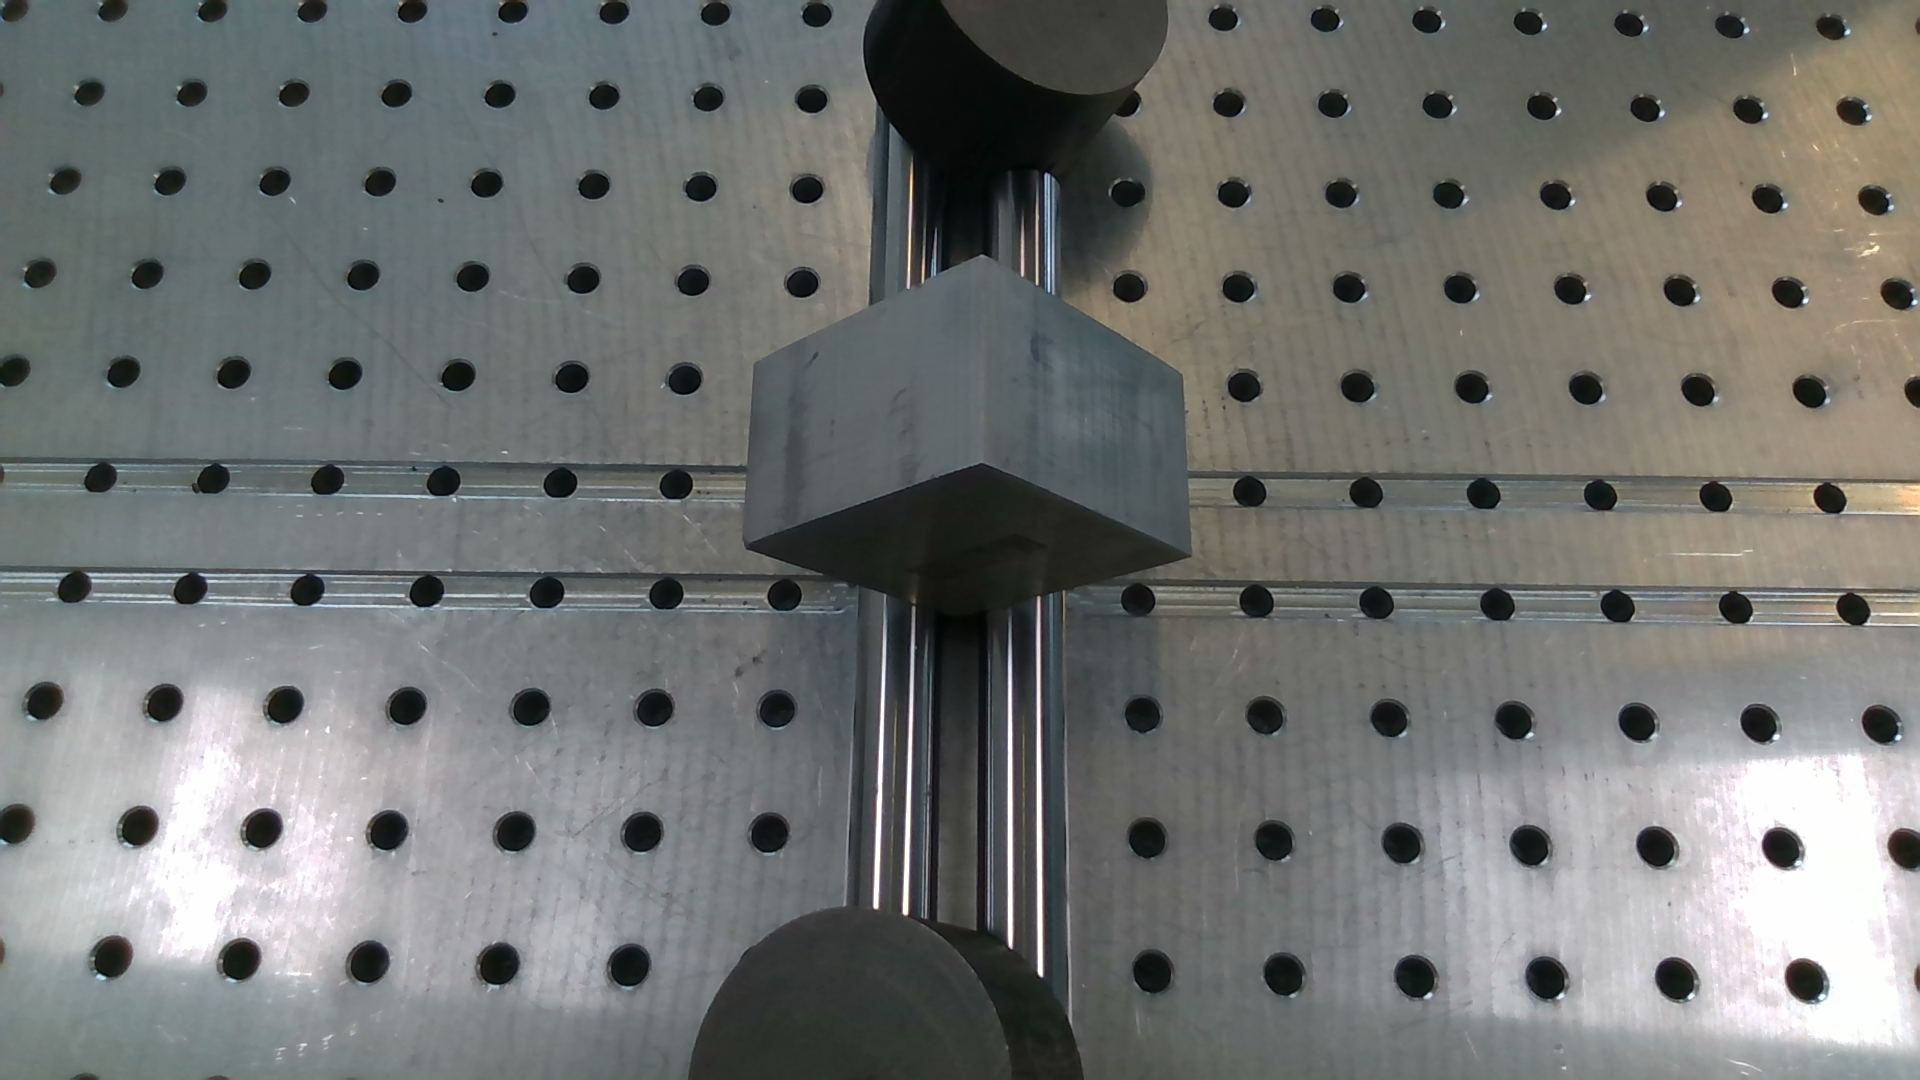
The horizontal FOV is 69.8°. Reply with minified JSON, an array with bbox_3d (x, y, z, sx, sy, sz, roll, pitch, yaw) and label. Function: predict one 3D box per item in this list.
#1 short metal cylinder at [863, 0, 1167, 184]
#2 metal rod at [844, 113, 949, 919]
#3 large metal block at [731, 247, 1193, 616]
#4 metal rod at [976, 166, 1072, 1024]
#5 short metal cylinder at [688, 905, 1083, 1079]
[{"bbox_3d":[0.016,-0.158,0.426,0.080,0.050,0.080,8,69,-22],"label":"short metal cylinder"},{"bbox_3d":[-0.017,-0.040,0.412,0.025,0.025,0.299,1,71,0],"label":"metal rod"},{"bbox_3d":[0.001,-0.021,0.345,0.080,0.080,0.050,-16,64,39],"label":"large metal block"},{"bbox_3d":[0.018,0.030,0.387,0.025,0.025,0.299,1,71,0],"label":"metal rod"},{"bbox_3d":[-0.017,0.130,0.325,0.080,0.050,0.080,-8,68,21],"label":"short metal cylinder"}]
